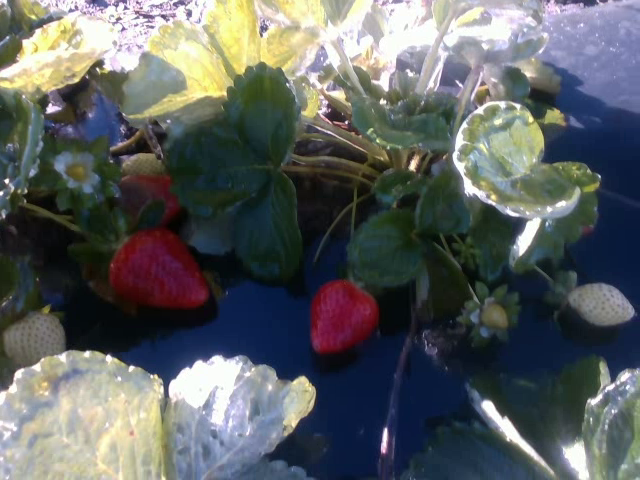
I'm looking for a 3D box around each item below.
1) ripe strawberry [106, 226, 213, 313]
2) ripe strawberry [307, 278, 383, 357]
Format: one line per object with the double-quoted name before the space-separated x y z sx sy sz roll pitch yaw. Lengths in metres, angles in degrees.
"ripe strawberry" -0.080 0.018 0.309 0.056 0.044 0.040 39 -15 9
"ripe strawberry" 0.010 0.040 0.291 0.039 0.047 0.040 28 -28 6
